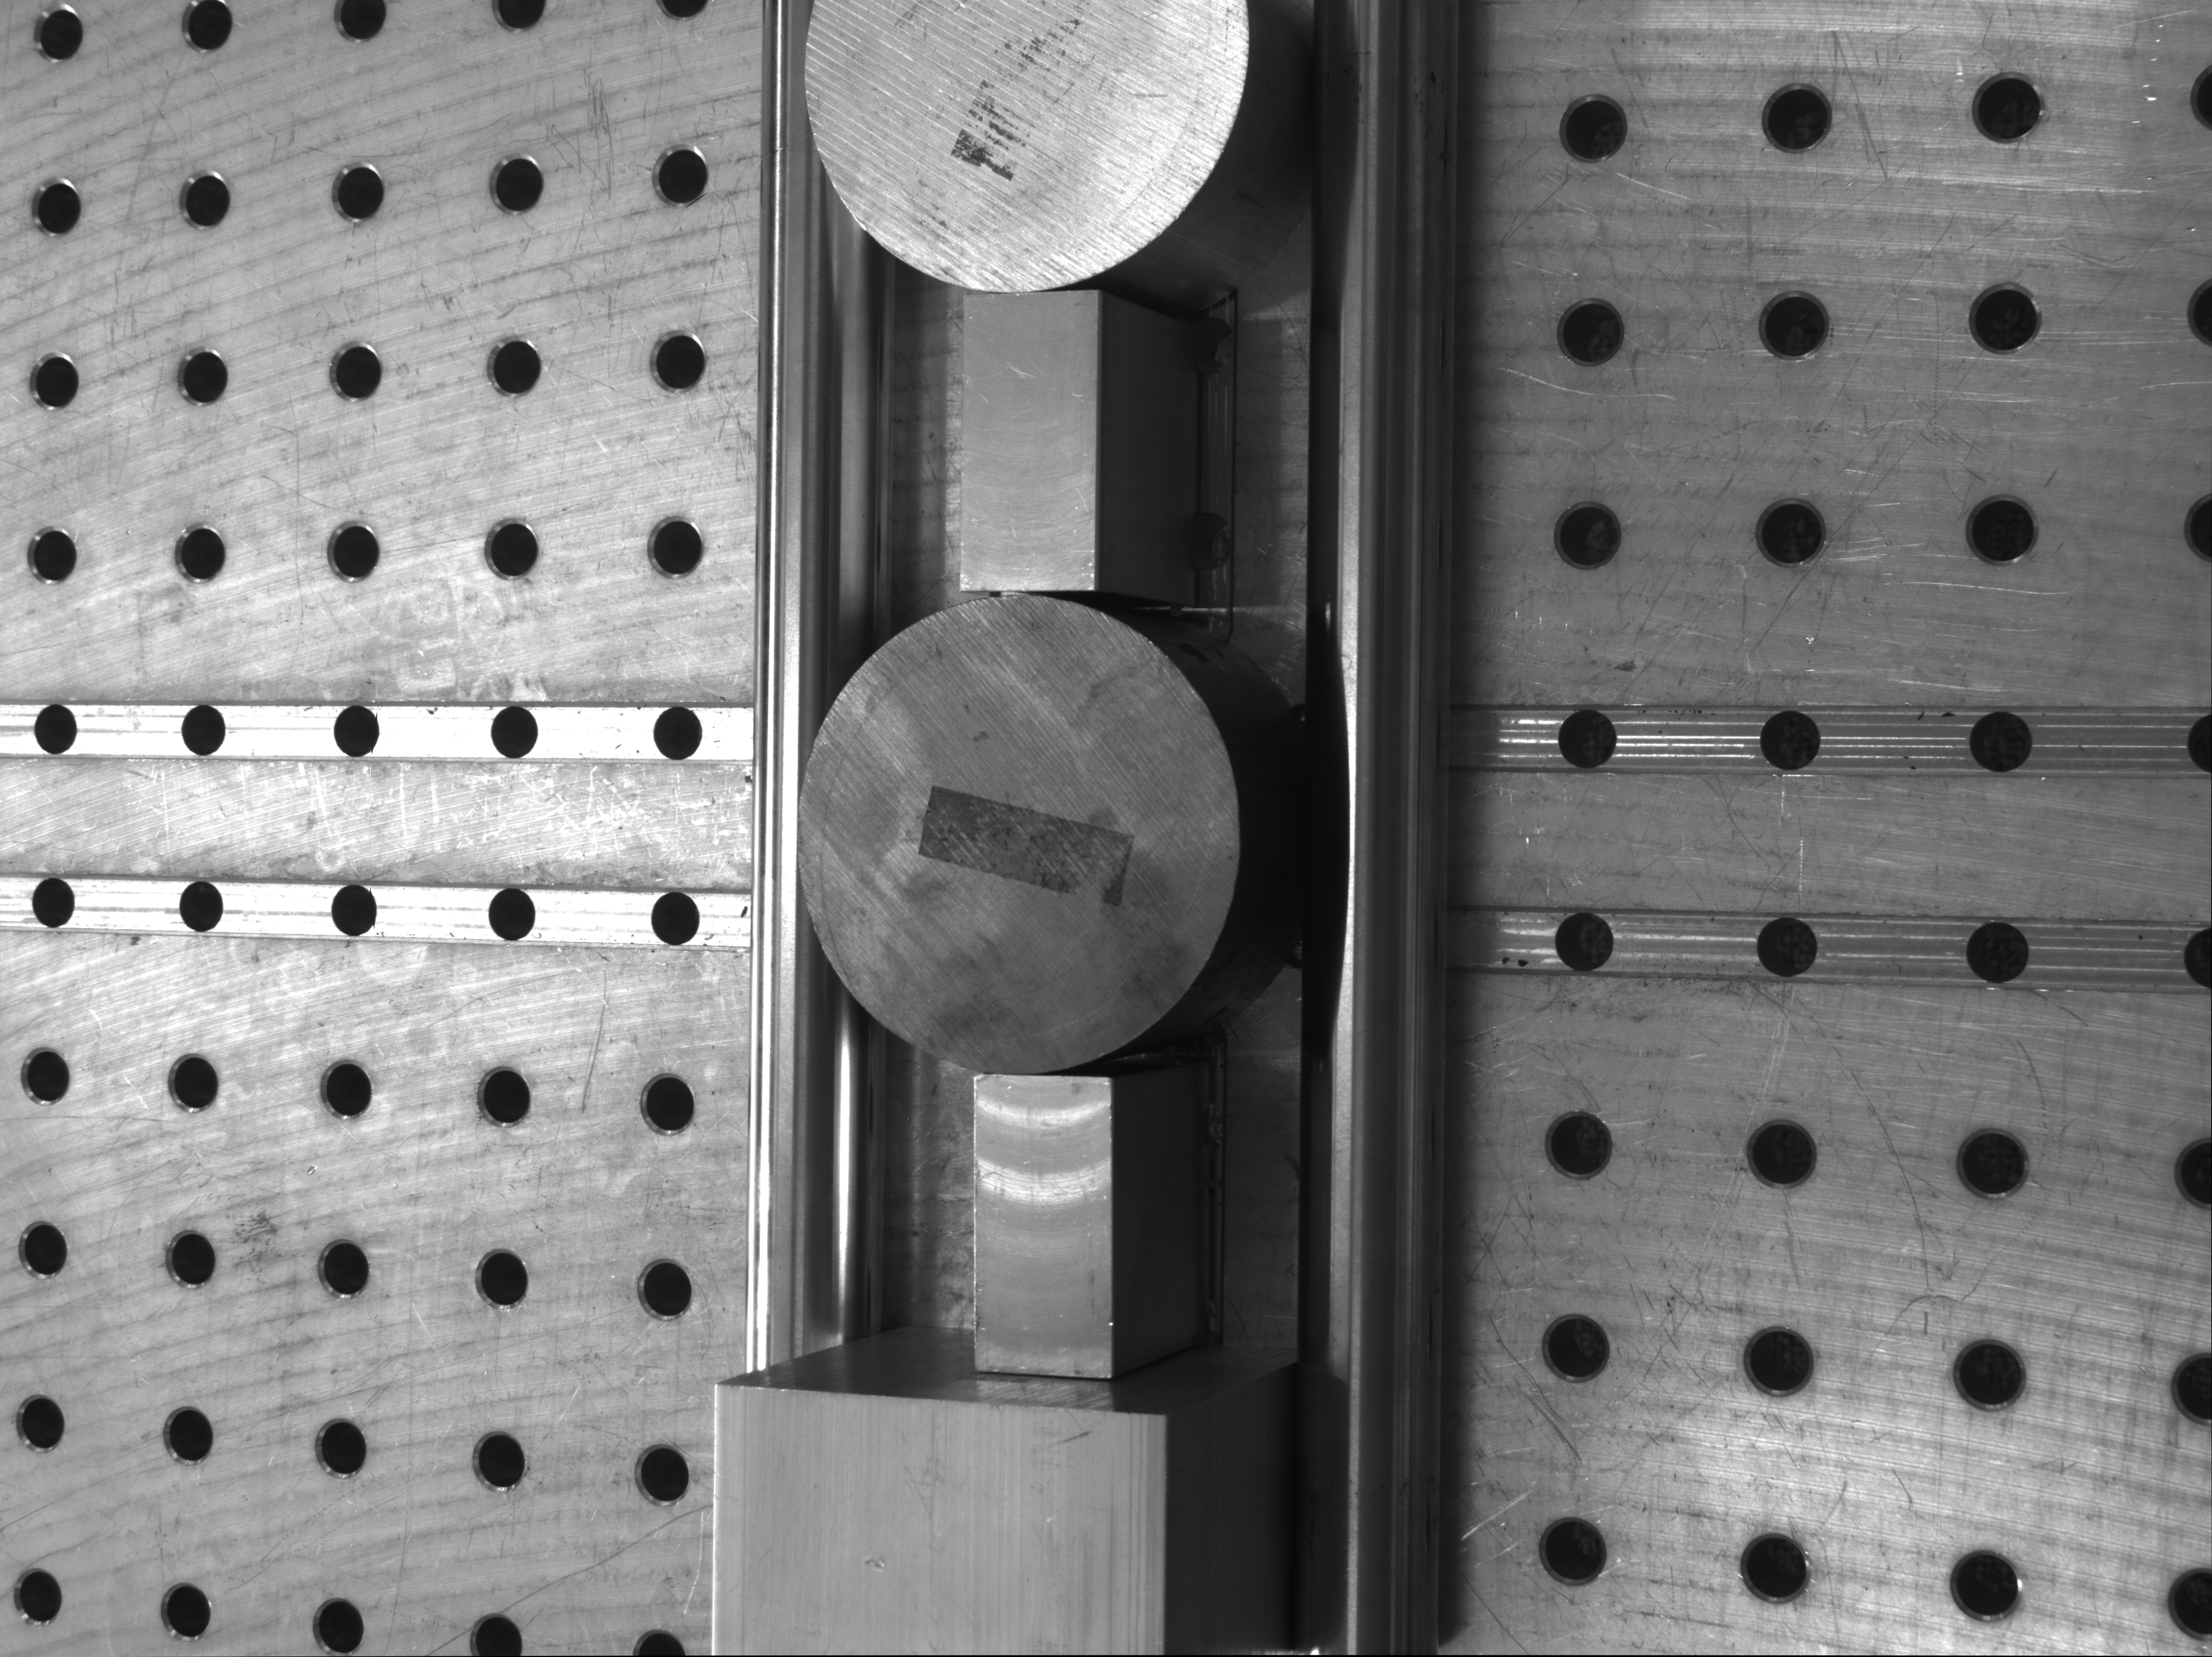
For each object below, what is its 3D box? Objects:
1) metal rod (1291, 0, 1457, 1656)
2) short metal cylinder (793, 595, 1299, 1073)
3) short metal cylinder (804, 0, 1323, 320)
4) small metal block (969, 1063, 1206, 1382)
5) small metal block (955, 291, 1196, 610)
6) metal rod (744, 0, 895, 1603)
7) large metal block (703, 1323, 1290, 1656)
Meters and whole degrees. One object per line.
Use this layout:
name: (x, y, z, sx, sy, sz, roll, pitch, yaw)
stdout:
metal rod: (0.046, -0.005, 0.631, 0.025, 0.025, 0.300, 1, 90, 20)
short metal cylinder: (-0.007, 0.001, 0.638, 0.080, 0.050, 0.080, 0, 90, 20)
short metal cylinder: (-0.006, -0.129, 0.637, 0.080, 0.050, 0.080, 0, 90, 20)
small metal block: (-0.003, 0.067, 0.635, 0.025, 0.050, 0.050, 0, 90, 20)
small metal block: (-0.005, -0.064, 0.636, 0.025, 0.050, 0.050, 1, 90, 20)
metal rod: (-0.052, -0.005, 0.667, 0.025, 0.025, 0.300, 1, 90, 20)
large metal block: (-0.014, 0.116, 0.624, 0.080, 0.080, 0.050, 1, 90, 20)
